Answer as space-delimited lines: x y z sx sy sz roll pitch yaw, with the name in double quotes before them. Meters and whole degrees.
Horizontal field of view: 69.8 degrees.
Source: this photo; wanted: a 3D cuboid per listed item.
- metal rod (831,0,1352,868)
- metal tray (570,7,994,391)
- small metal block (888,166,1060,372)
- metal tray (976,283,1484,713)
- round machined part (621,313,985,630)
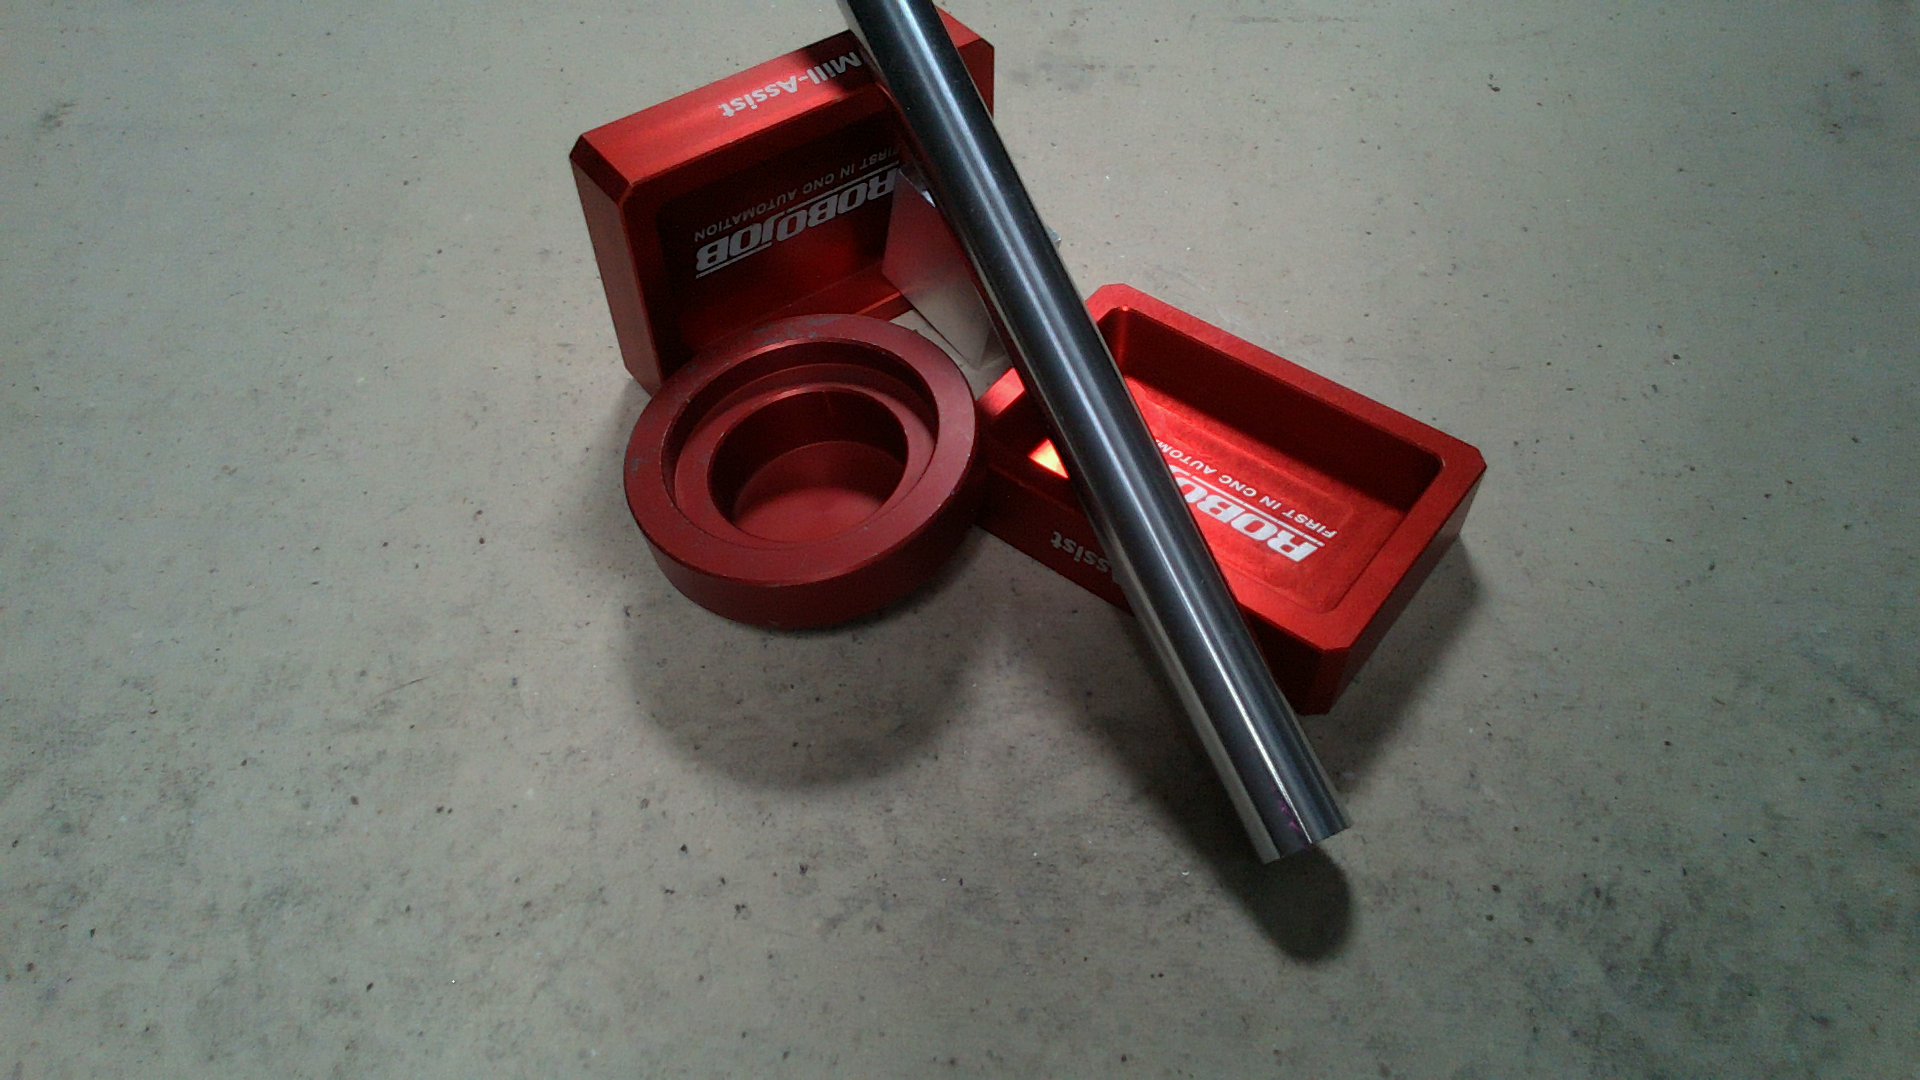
"metal rod" 0.022 -0.058 0.370 0.025 0.025 0.300 -20 75 -16
"metal tray" -0.050 -0.104 0.436 0.130 0.090 0.030 -31 56 -23
"small metal block" 0.002 -0.092 0.446 0.025 0.050 0.050 -36 73 -24
"metal tray" 0.072 -0.018 0.404 0.130 0.030 0.090 31 56 23
"round machined part" -0.041 -0.015 0.389 0.098 0.042 0.098 -4 53 5
